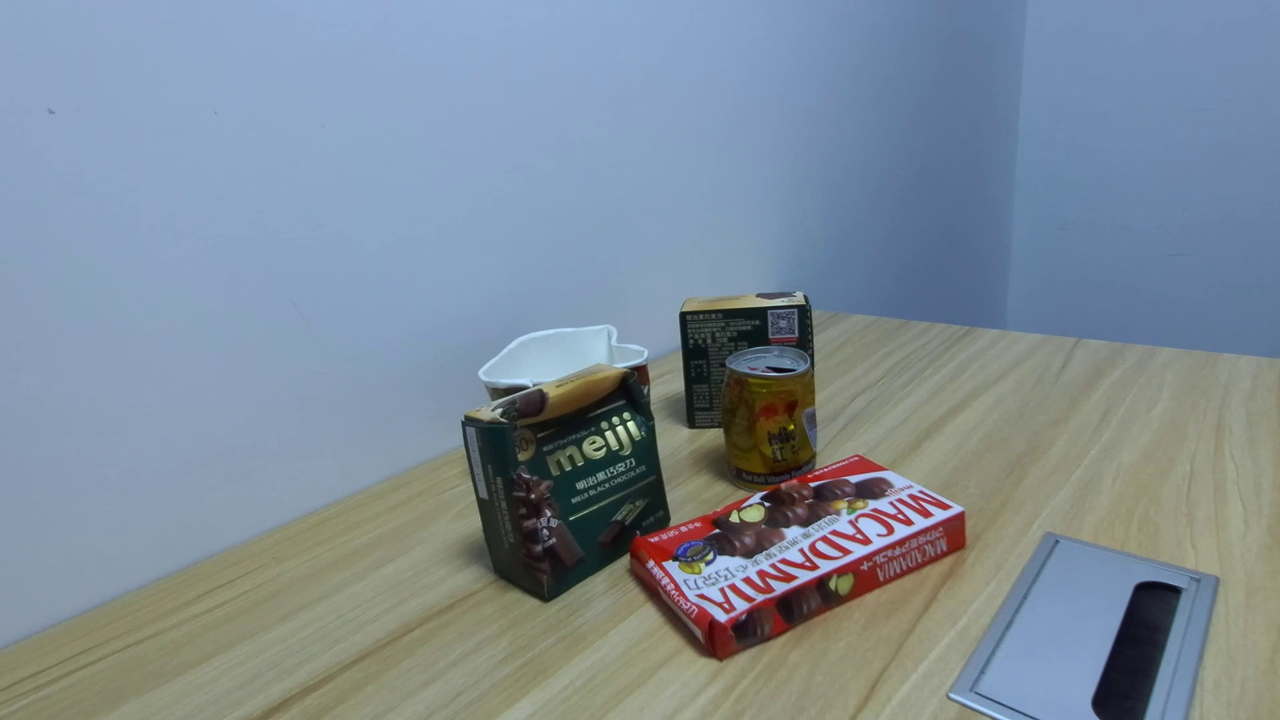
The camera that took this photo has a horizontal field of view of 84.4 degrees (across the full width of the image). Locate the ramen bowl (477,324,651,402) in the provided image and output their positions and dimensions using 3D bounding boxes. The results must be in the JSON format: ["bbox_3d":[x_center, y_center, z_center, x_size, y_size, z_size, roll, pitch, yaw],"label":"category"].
[{"bbox_3d":[-0.060,0.035,0.580,0.134,0.097,0.113,-12,21,-22],"label":"ramen bowl"}]

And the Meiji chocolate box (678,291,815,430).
[{"bbox_3d":[0.095,-0.001,0.621,0.113,0.111,0.058,-3,18,11],"label":"Meiji chocolate box"}]

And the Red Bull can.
[{"bbox_3d":[0.094,0.042,0.513,0.072,0.092,0.072,-5,20,2],"label":"Red Bull can"}]

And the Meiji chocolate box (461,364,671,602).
[{"bbox_3d":[-0.042,0.070,0.449,0.118,0.117,0.051,-21,15,-38],"label":"Meiji chocolate box"}]

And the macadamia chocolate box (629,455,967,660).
[{"bbox_3d":[0.094,0.109,0.424,0.183,0.028,0.105,-15,20,-23],"label":"macadamia chocolate box"}]
